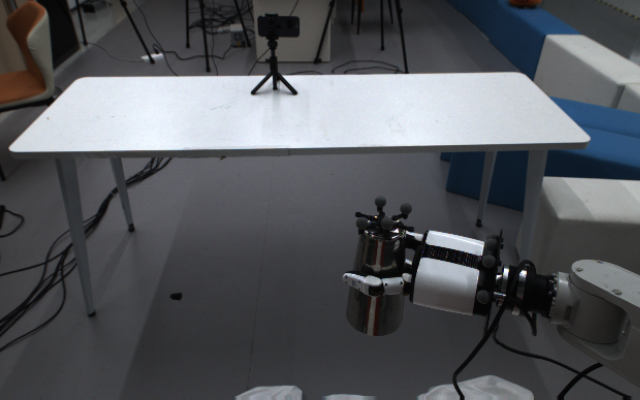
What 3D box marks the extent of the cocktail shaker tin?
[{"bbox_3d":[0.092,0.111,0.740,0.093,0.170,0.093,1,30,-1],"label":"cocktail shaker tin"}]
